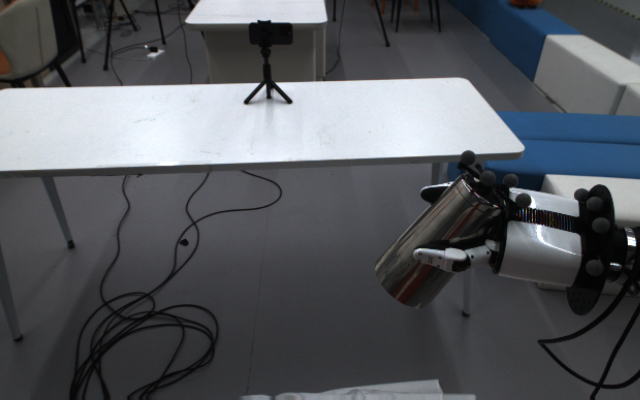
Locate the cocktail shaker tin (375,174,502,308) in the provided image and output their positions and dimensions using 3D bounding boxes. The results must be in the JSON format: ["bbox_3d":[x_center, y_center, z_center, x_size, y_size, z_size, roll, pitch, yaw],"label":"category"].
[{"bbox_3d":[0.155,0.044,0.622,0.093,0.170,0.093,26,32,-18],"label":"cocktail shaker tin"}]
